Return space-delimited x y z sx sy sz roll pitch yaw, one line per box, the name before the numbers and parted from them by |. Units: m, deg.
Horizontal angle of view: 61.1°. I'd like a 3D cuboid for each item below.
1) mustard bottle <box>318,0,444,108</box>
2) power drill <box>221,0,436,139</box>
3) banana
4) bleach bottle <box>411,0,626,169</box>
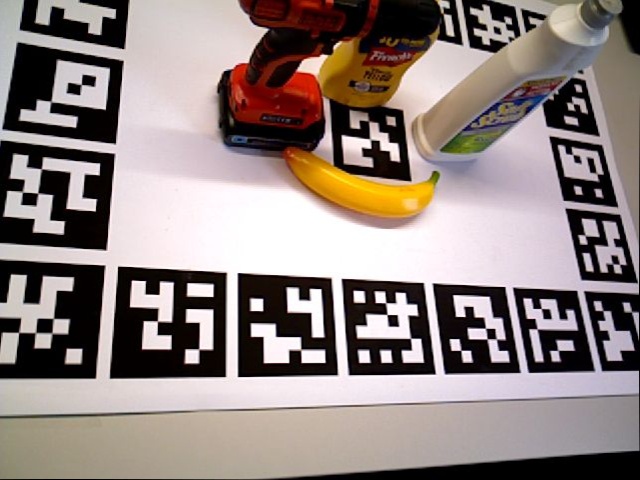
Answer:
mustard bottle | 0.075 -0.218 0.581 0.095 0.195 0.058 4 69 -22
power drill | -0.008 -0.173 0.511 0.182 0.191 0.057 2 63 -24
banana | 0.062 -0.057 0.605 0.195 0.039 0.074 6 74 -18
bleach bottle | 0.206 -0.162 0.589 0.101 0.256 0.067 -5 74 -24
